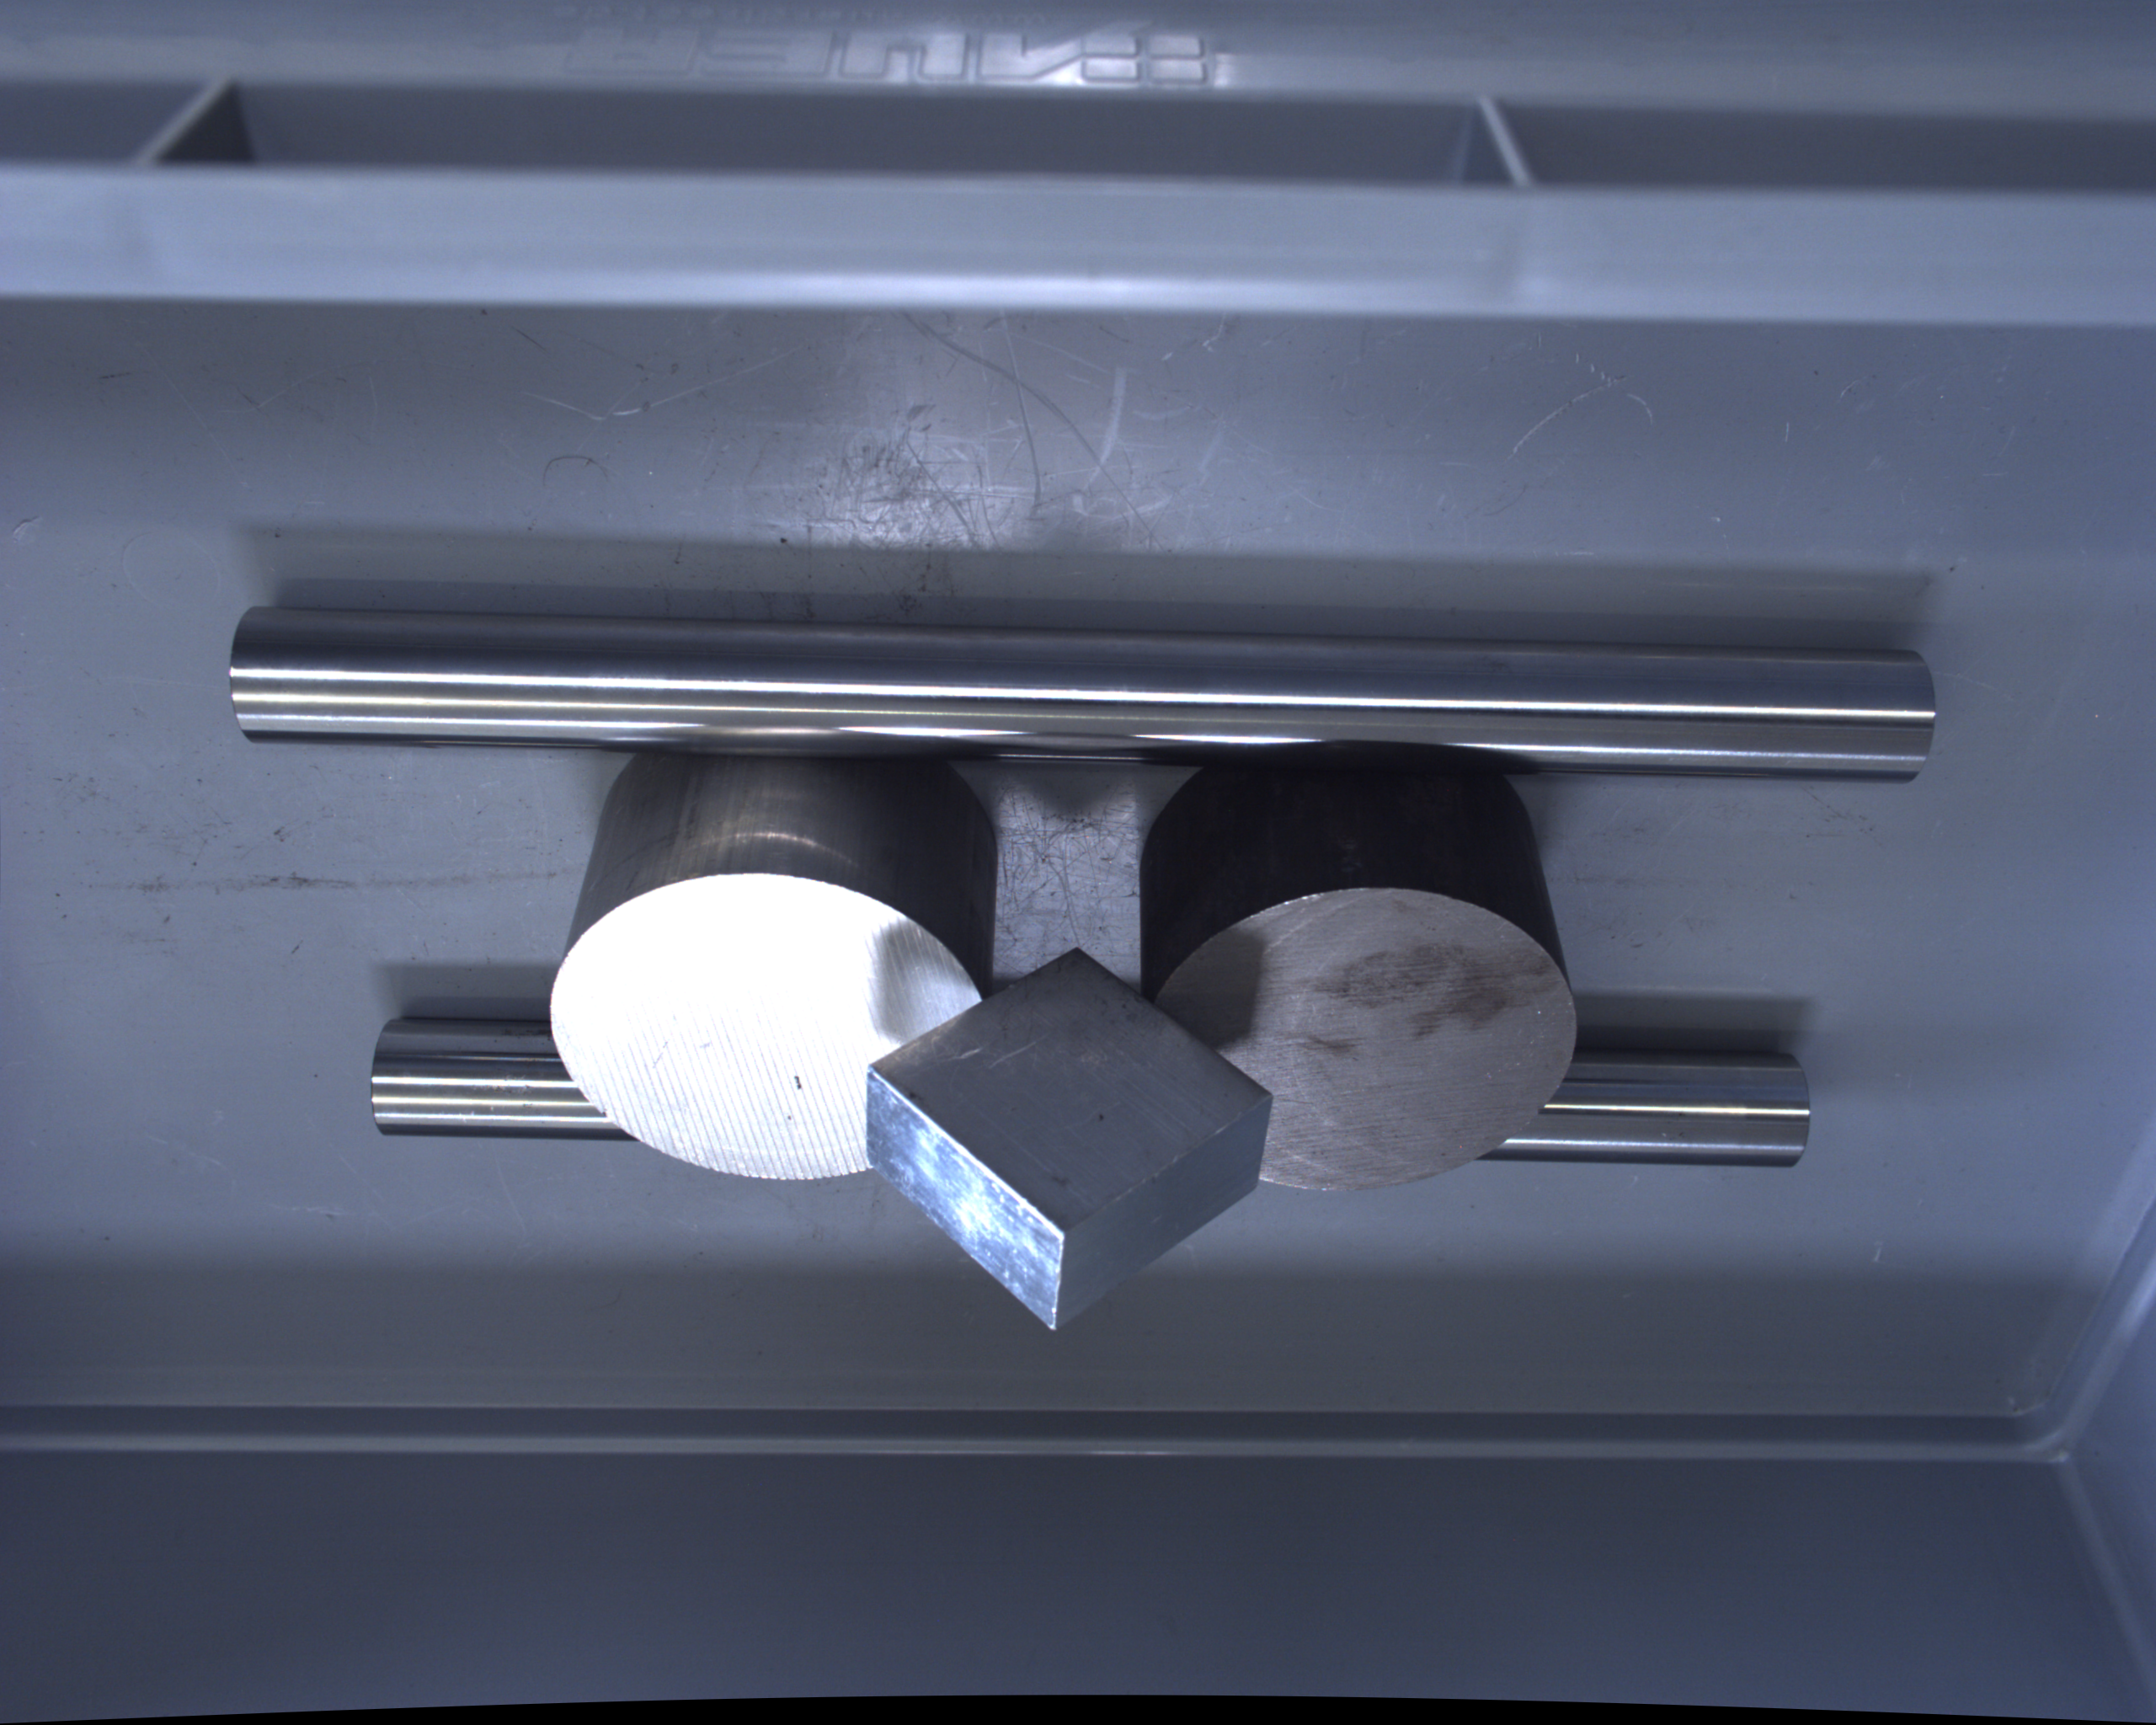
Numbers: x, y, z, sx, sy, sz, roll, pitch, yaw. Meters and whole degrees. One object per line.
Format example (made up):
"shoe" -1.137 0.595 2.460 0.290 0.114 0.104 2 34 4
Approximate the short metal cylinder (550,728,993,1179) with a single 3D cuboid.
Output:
"short metal cylinder" -0.057 0.016 0.404 0.081 0.050 0.079 0 130 0

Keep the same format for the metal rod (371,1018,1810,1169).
"metal rod" 0.004 0.050 0.450 0.302 0.025 0.025 2 130 -2

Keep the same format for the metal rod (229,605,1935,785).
"metal rod" 0.002 -0.030 0.381 0.302 0.025 0.025 1 130 -2

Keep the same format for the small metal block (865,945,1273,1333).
"small metal block" -0.002 0.047 0.370 0.050 0.050 0.025 -29 140 -34

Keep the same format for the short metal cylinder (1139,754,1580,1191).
"short metal cylinder" 0.053 0.019 0.408 0.081 0.050 0.079 0 130 0
